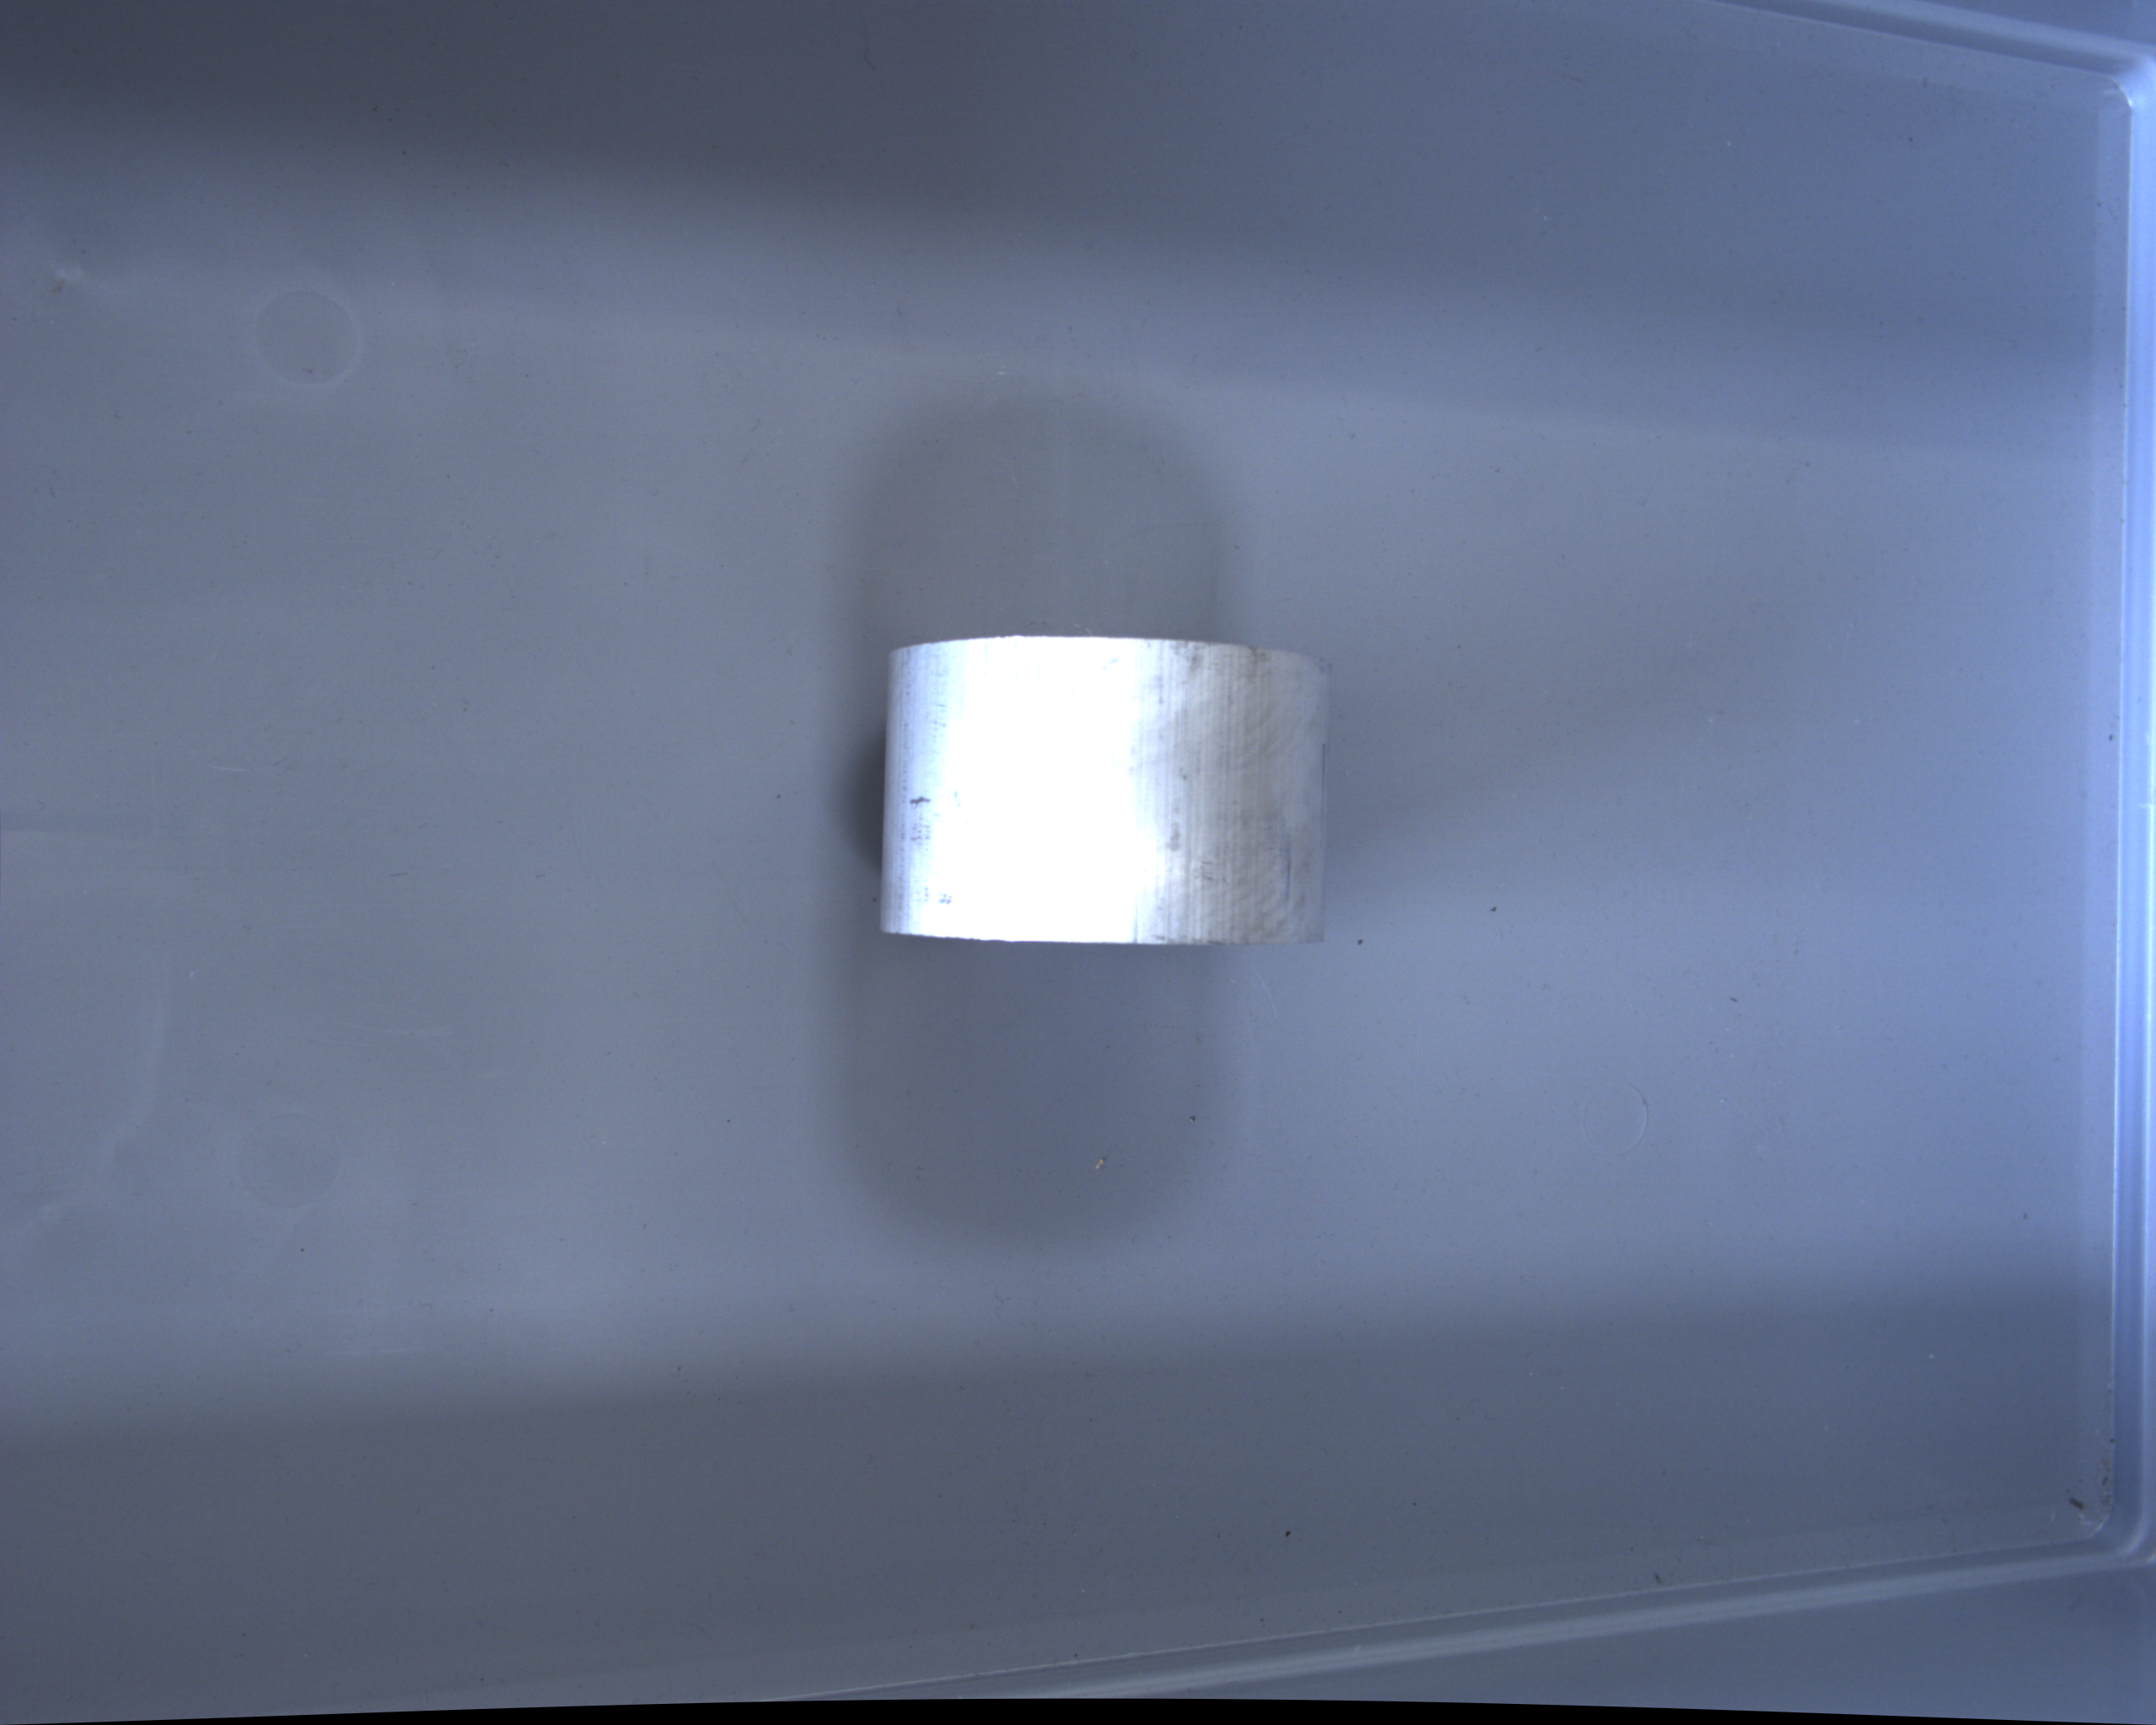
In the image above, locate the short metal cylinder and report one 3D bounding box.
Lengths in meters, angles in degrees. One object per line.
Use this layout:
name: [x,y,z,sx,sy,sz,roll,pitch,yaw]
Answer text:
short metal cylinder: [0.005,-0.011,0.380,0.081,0.080,0.050,2,90,-20]
